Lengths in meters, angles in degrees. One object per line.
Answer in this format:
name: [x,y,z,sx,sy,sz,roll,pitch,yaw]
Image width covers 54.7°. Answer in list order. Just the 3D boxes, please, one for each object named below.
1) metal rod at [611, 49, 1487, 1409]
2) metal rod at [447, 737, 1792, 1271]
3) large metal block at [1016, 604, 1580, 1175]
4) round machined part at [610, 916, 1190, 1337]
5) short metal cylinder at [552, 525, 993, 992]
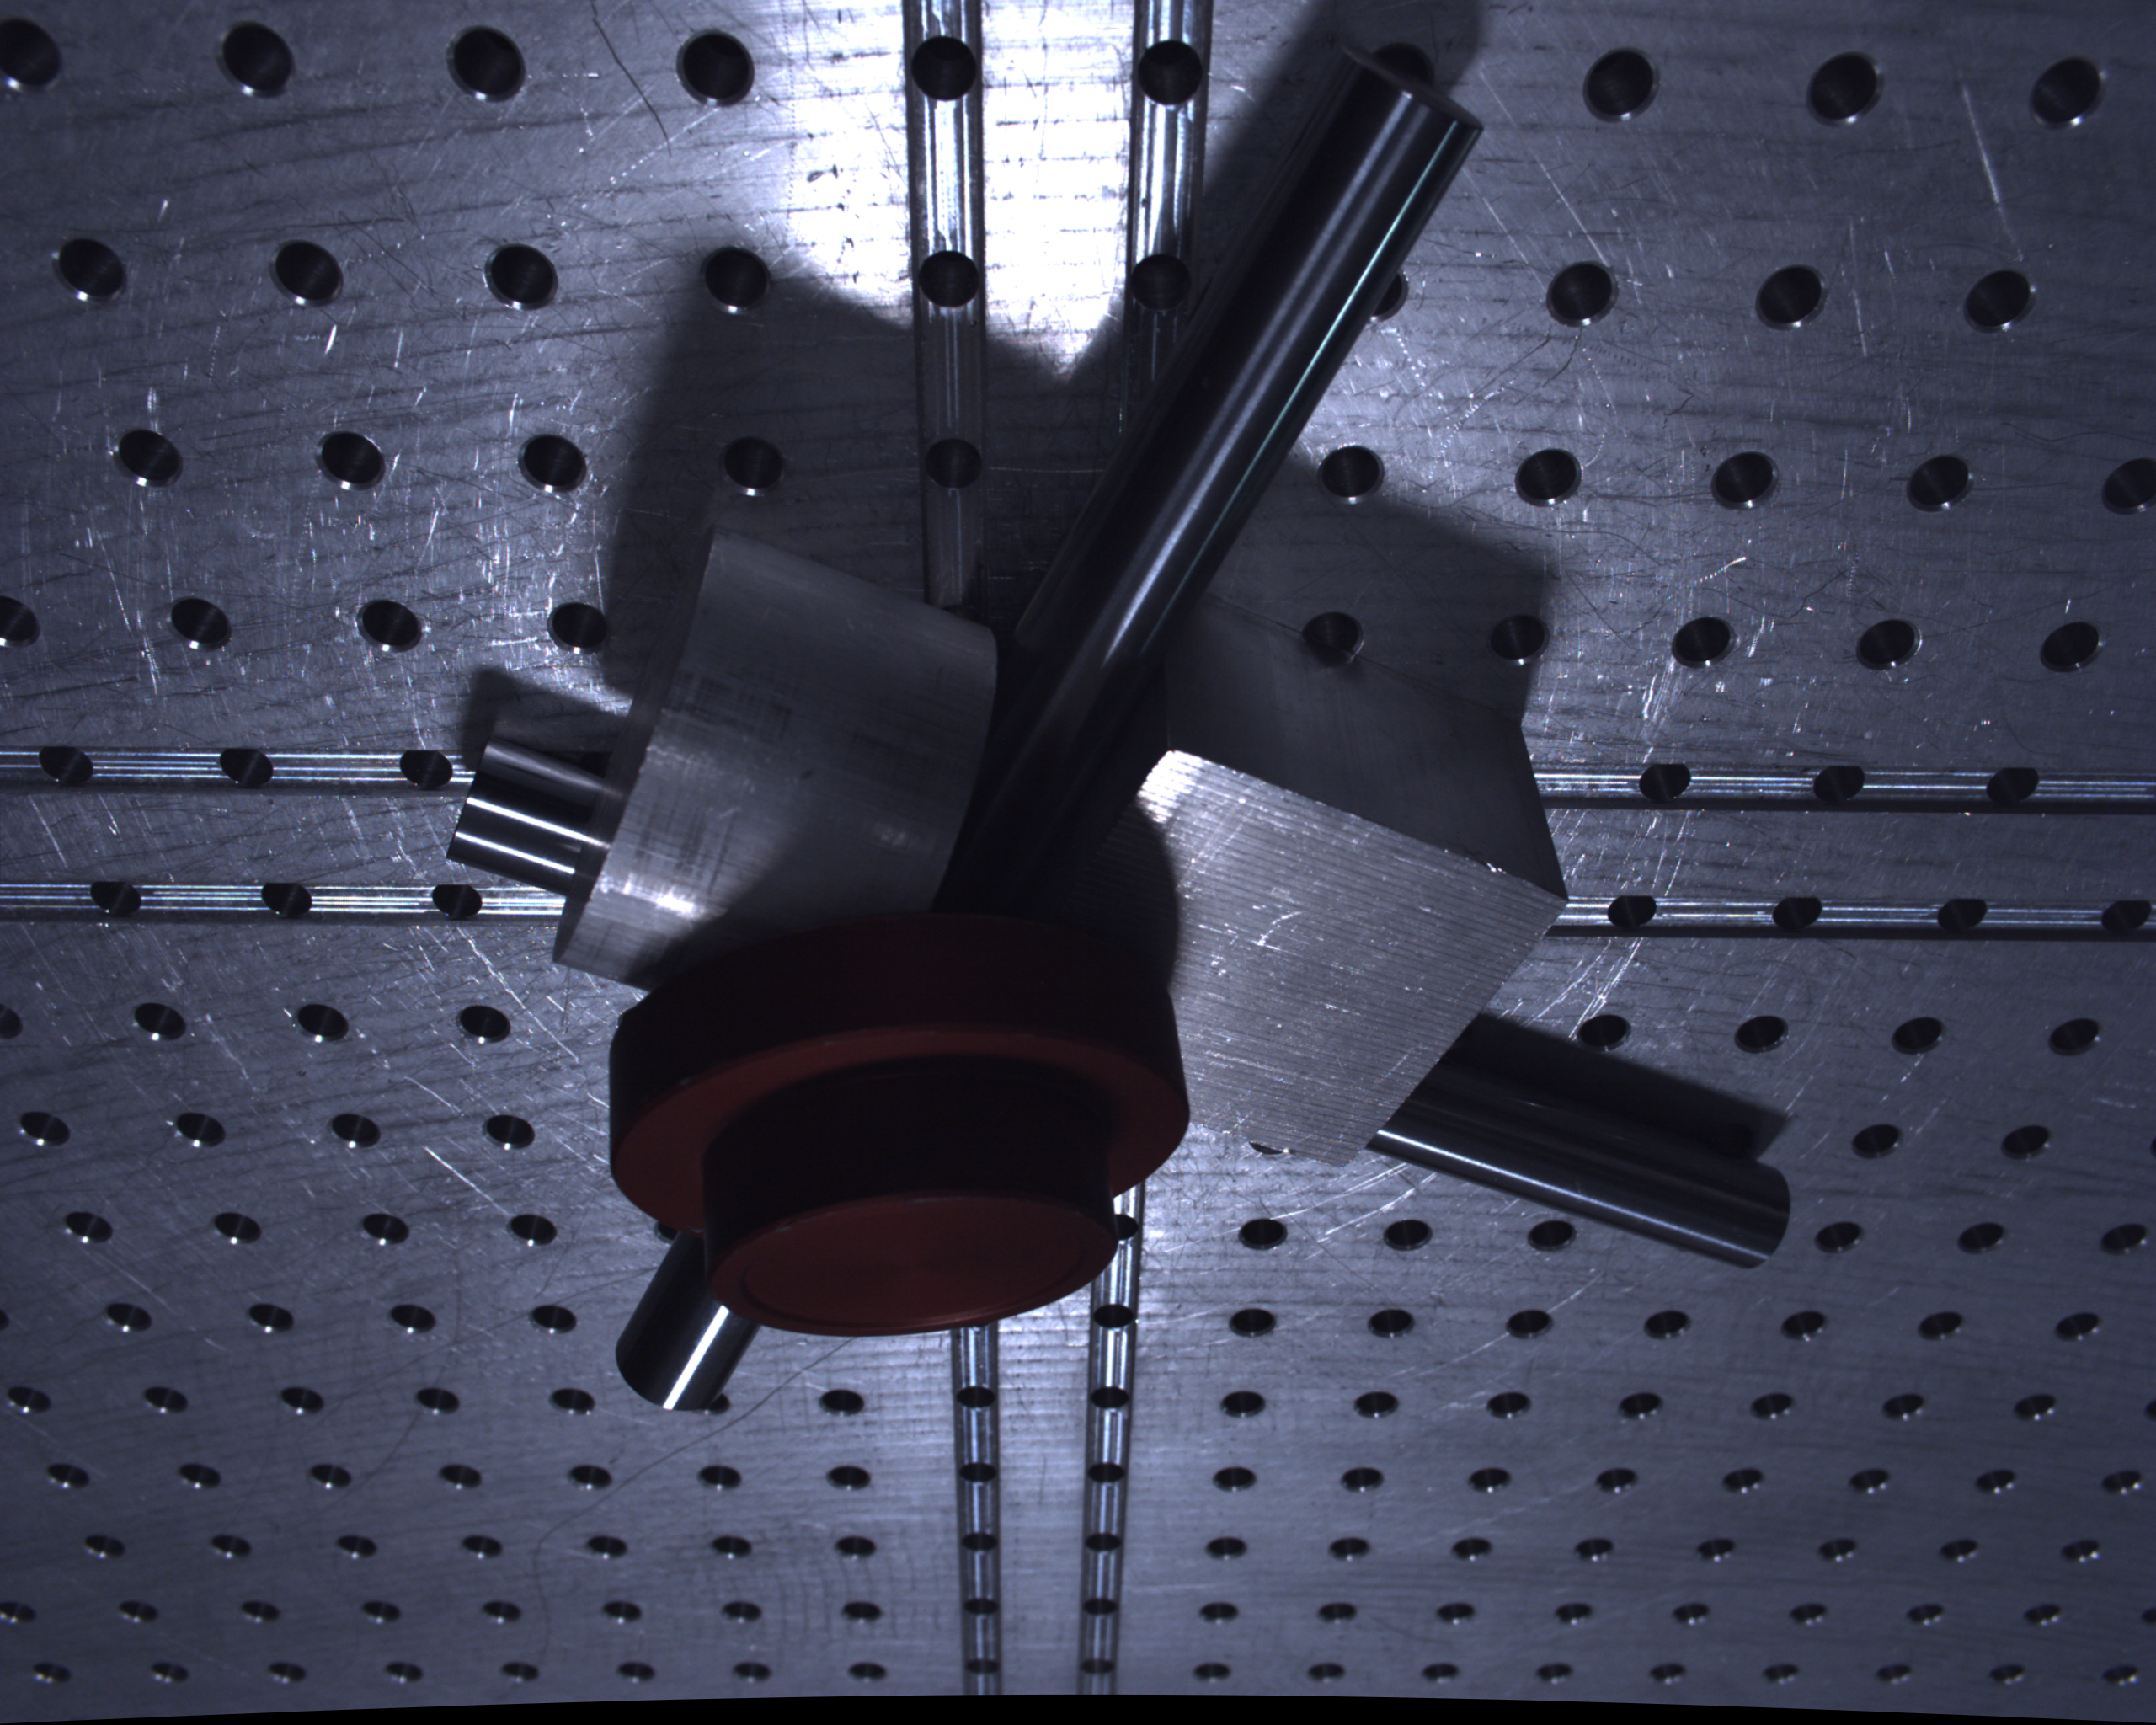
metal rod: [-0.019,-0.004,0.383,0.025,0.025,0.298,22,119,-18]
metal rod: [0.020,0.035,0.441,0.302,0.025,0.025,19,127,-16]
large metal block: [0.034,0.005,0.396,0.080,0.050,0.079,20,127,-17]
round machined part: [-0.030,0.050,0.357,0.099,0.042,0.098,-6,151,-3]
short metal cylinder: [-0.054,-0.013,0.363,0.050,0.080,0.079,20,127,-16]
